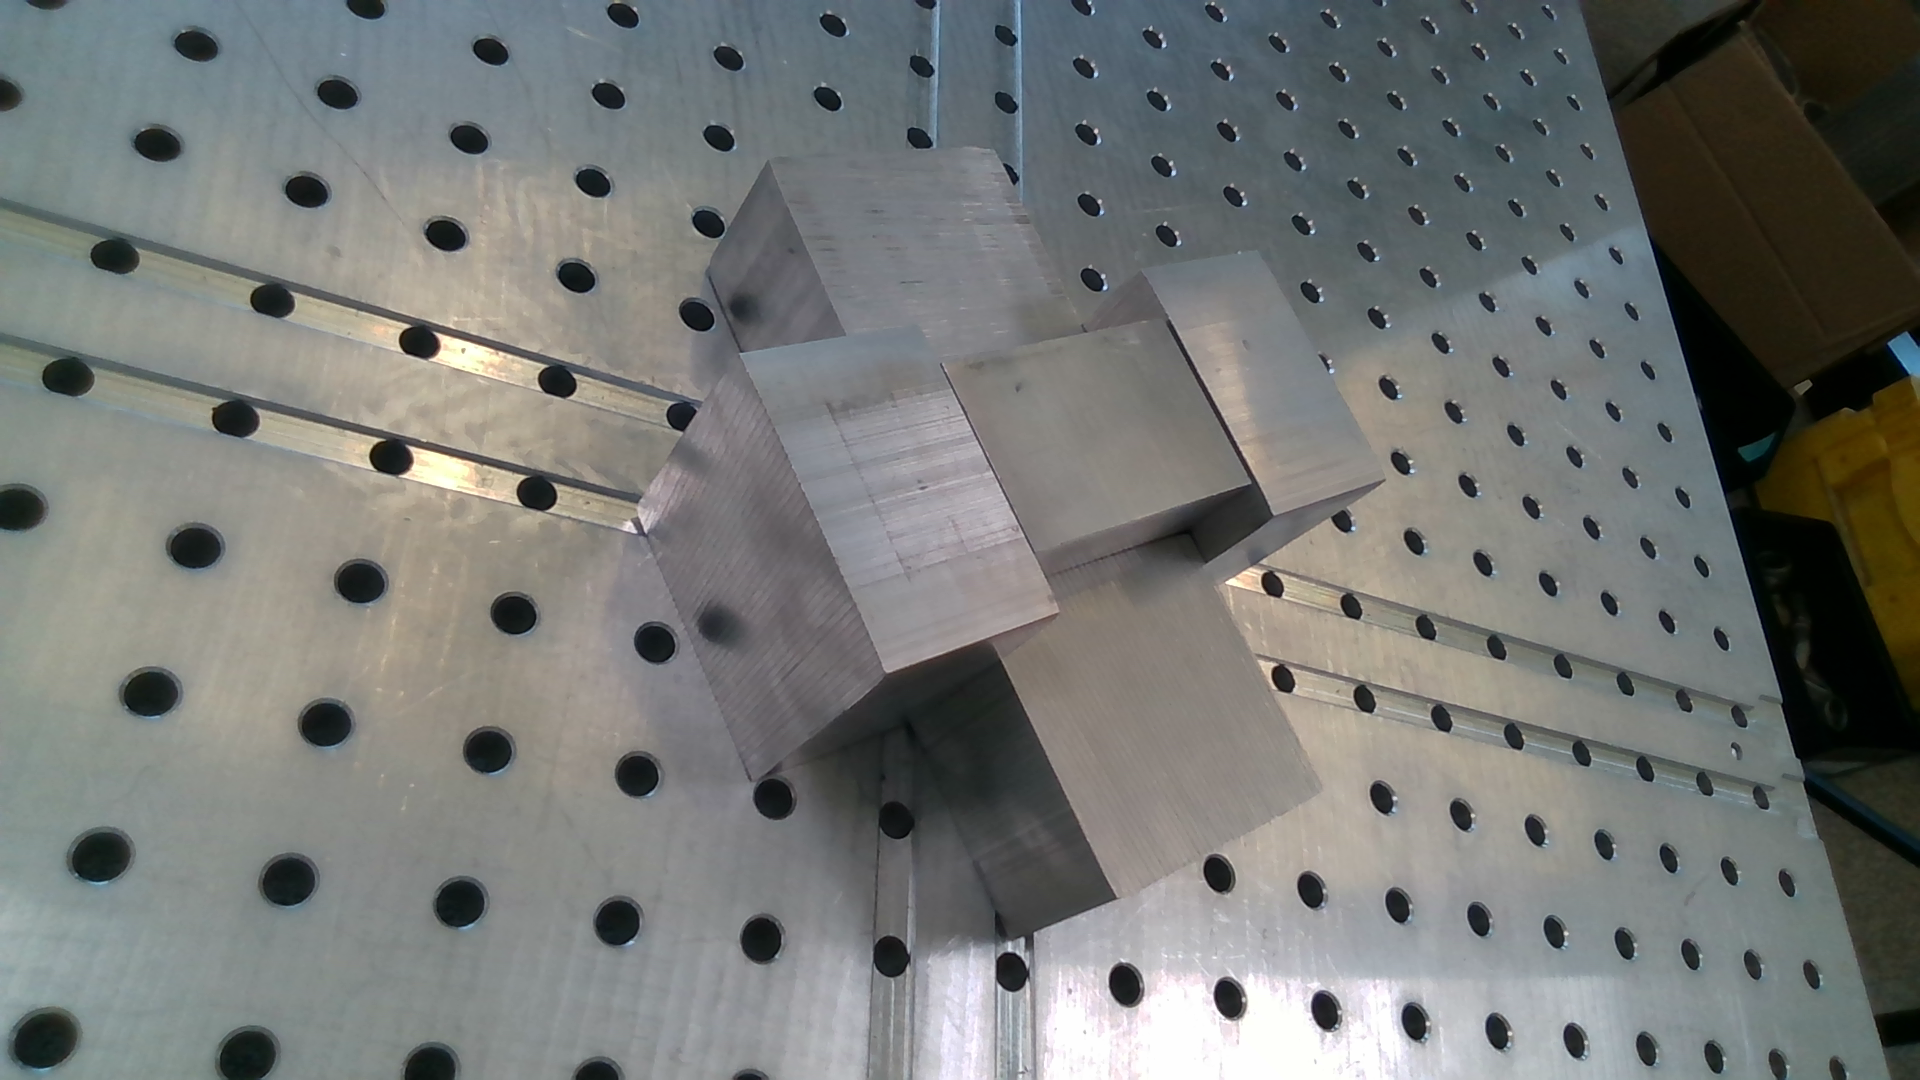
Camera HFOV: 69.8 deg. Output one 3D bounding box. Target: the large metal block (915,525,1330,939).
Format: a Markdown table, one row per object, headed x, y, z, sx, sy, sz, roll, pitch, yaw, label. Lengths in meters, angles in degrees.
| x | y | z | sx | sy | sz | roll | pitch | yaw | label |
| --- | --- | --- | --- | --- | --- | --- | --- | --- | --- |
| 0.040 | 0.051 | 0.376 | 0.080 | 0.050 | 0.080 | -17 | 75 | -35 | large metal block |

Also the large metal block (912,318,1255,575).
| x | y | z | sx | sy | sz | roll | pitch | yaw | label |
| --- | --- | --- | --- | --- | --- | --- | --- | --- | --- |
| 0.018 | -0.013 | 0.379 | 0.080 | 0.080 | 0.050 | -16 | 75 | -37 | large metal block |

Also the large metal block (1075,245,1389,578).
| x | y | z | sx | sy | sz | roll | pitch | yaw | label |
| --- | --- | --- | --- | --- | --- | --- | --- | --- | --- |
| 0.067 | -0.031 | 0.418 | 0.050 | 0.080 | 0.080 | -16 | 74 | -37 | large metal block |

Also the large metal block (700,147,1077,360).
| x | y | z | sx | sy | sz | roll | pitch | yaw | label |
| --- | --- | --- | --- | --- | --- | --- | --- | --- | --- |
| -0.018 | -0.066 | 0.405 | 0.080 | 0.050 | 0.080 | -14 | 73 | -37 | large metal block |

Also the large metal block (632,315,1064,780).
| x | y | z | sx | sy | sz | roll | pitch | yaw | label |
| --- | --- | --- | --- | --- | --- | --- | --- | --- | --- |
| -0.031 | 0.003 | 0.339 | 0.050 | 0.080 | 0.080 | -17 | 75 | -37 | large metal block |
